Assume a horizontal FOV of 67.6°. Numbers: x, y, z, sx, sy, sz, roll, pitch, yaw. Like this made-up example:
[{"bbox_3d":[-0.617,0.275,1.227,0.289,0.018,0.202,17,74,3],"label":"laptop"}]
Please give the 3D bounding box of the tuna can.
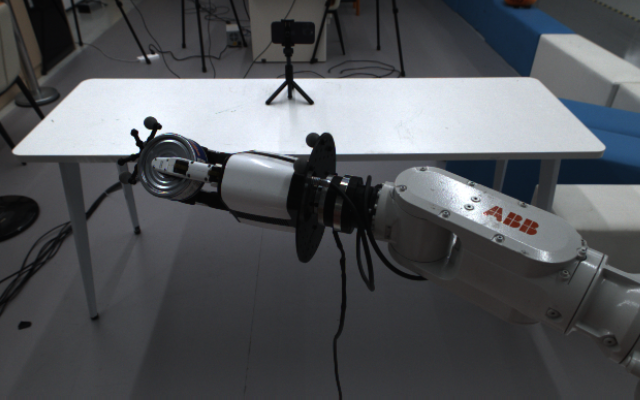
[{"bbox_3d":[-0.190,-0.043,0.628,0.085,0.085,0.034,12,-3,14],"label":"tuna can"}]
